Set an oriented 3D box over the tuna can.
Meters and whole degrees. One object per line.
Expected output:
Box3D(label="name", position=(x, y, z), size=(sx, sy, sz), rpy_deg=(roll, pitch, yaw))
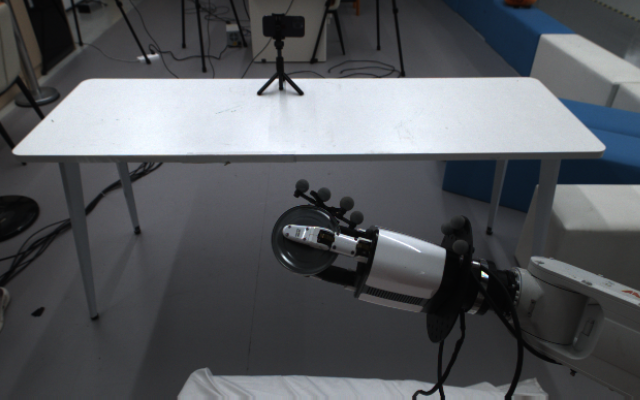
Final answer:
Box3D(label="tuna can", position=(-0.016, 0.050, 0.600), size=(0.085, 0.034, 0.085), rpy_deg=(1, 75, -4))
